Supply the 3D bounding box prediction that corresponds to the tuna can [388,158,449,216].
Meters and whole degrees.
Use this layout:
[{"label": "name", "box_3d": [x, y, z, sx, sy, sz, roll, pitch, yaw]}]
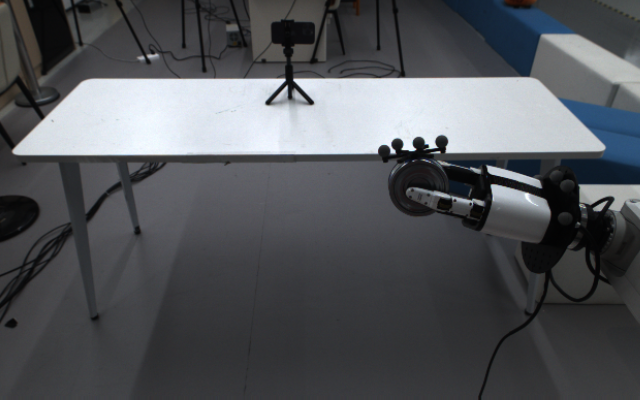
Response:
[{"label": "tuna can", "box_3d": [0.143, -0.022, 0.693, 0.085, 0.085, 0.034, 6, 18, 5]}]
